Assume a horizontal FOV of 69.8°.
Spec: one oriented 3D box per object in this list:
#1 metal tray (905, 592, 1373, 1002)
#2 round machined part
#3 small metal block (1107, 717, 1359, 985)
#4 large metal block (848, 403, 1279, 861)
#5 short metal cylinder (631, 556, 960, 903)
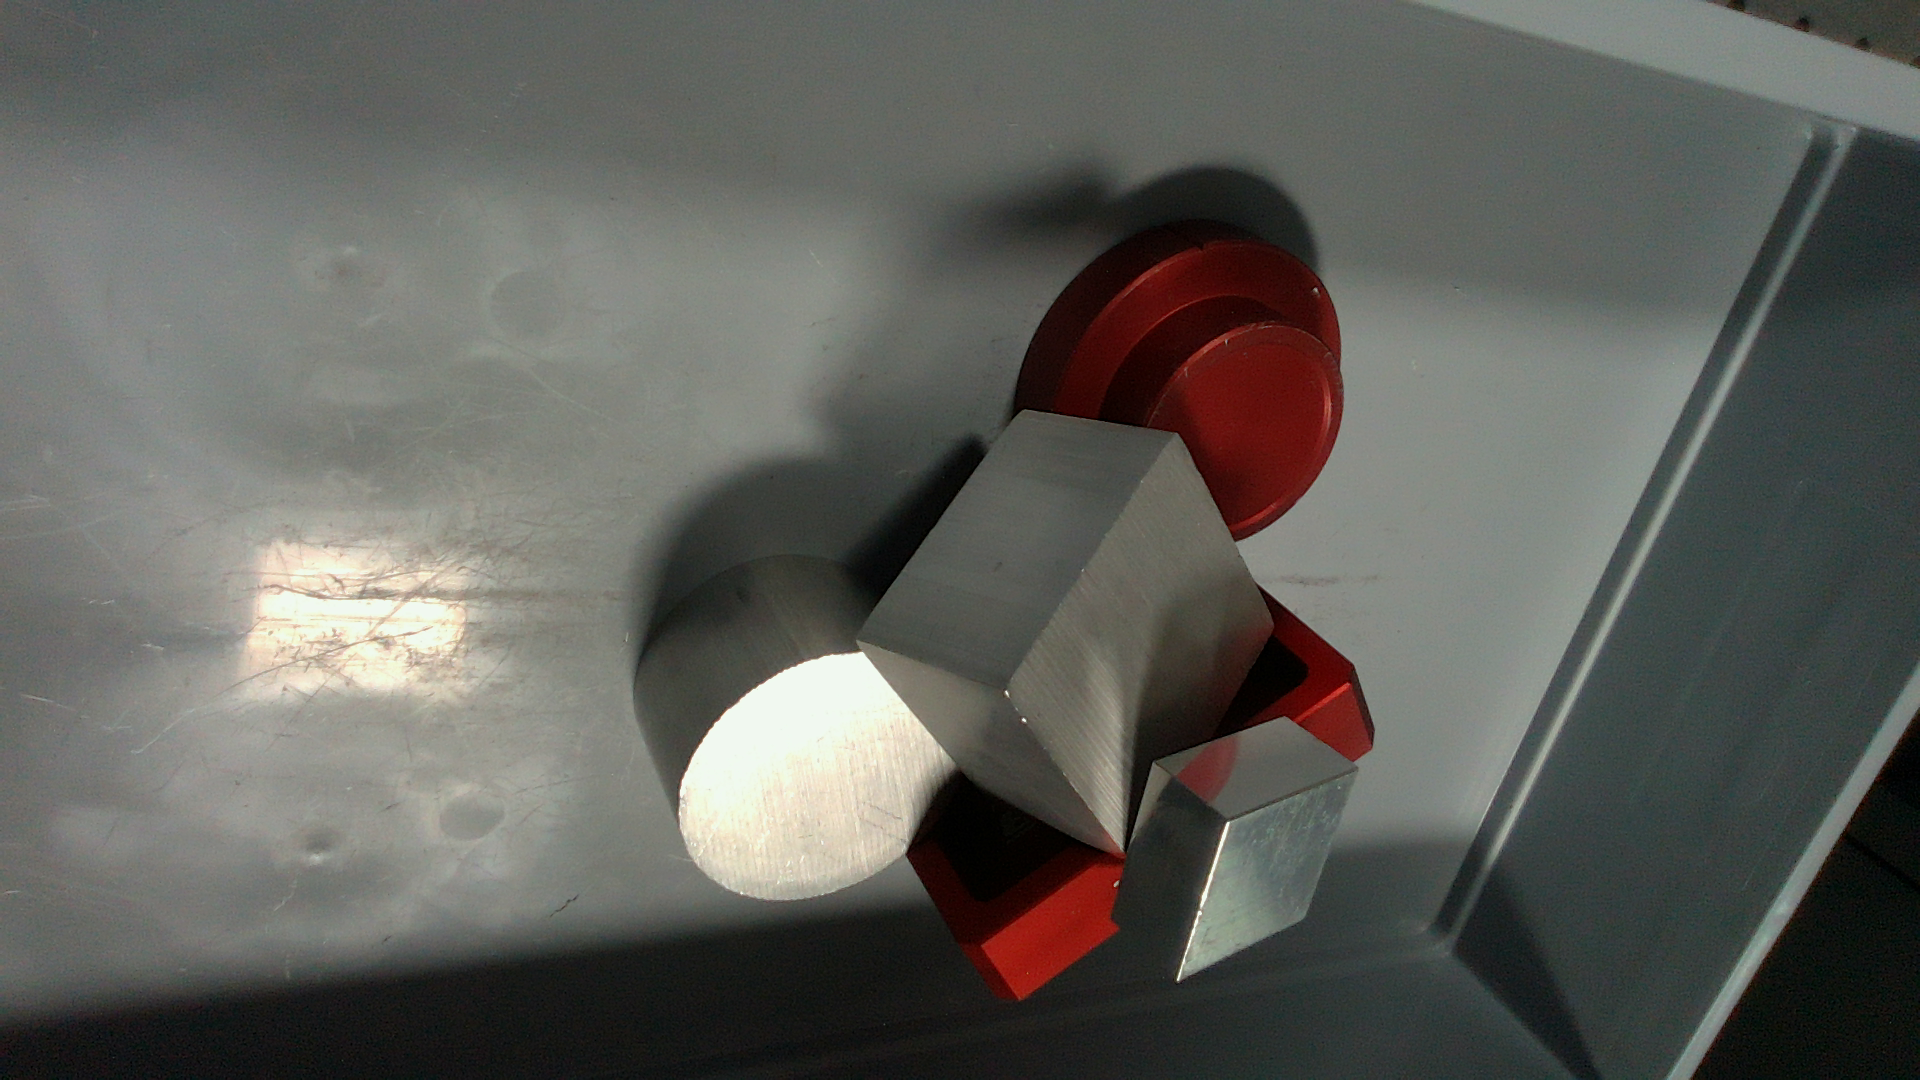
[{"bbox_3d":[0.042,0.061,0.405,0.130,0.090,0.030,-33,128,-7],"label":"metal tray"},{"bbox_3d":[0.068,-0.037,0.391,0.098,0.042,0.098,-14,124,-21],"label":"round machined part"},{"bbox_3d":[0.069,0.078,0.350,0.050,0.025,0.050,-11,123,-38],"label":"small metal block"},{"bbox_3d":[0.030,0.024,0.357,0.080,0.050,0.080,-54,133,-22],"label":"large metal block"},{"bbox_3d":[-0.045,0.052,0.379,0.080,0.050,0.080,-14,124,-21],"label":"short metal cylinder"}]
